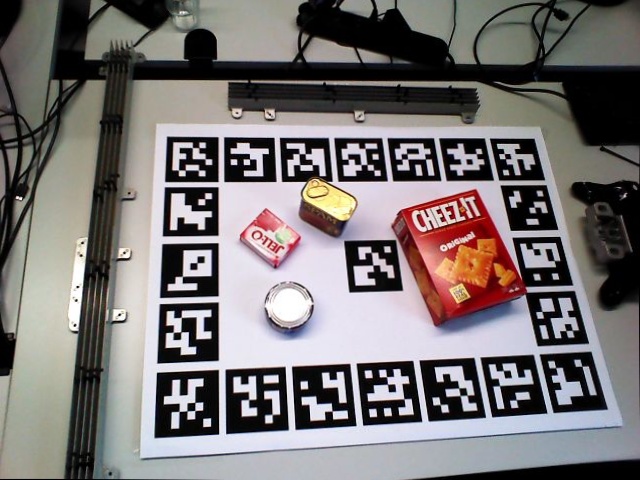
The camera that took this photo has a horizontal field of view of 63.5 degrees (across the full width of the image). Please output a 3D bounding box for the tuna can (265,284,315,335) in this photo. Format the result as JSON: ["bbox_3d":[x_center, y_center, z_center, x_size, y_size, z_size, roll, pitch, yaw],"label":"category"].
[{"bbox_3d":[-0.053,0.121,0.898,0.086,0.034,0.085,2,70,-6],"label":"tuna can"}]

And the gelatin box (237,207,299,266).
[{"bbox_3d":[-0.096,-0.007,0.954,0.089,0.030,0.073,39,64,7],"label":"gelatin box"}]

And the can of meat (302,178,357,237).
[{"bbox_3d":[0.016,-0.058,0.969,0.102,0.084,0.057,27,65,6],"label":"can of meat"}]

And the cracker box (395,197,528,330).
[{"bbox_3d":[0.261,0.040,0.964,0.164,0.072,0.213,-15,68,-15],"label":"cracker box"}]
